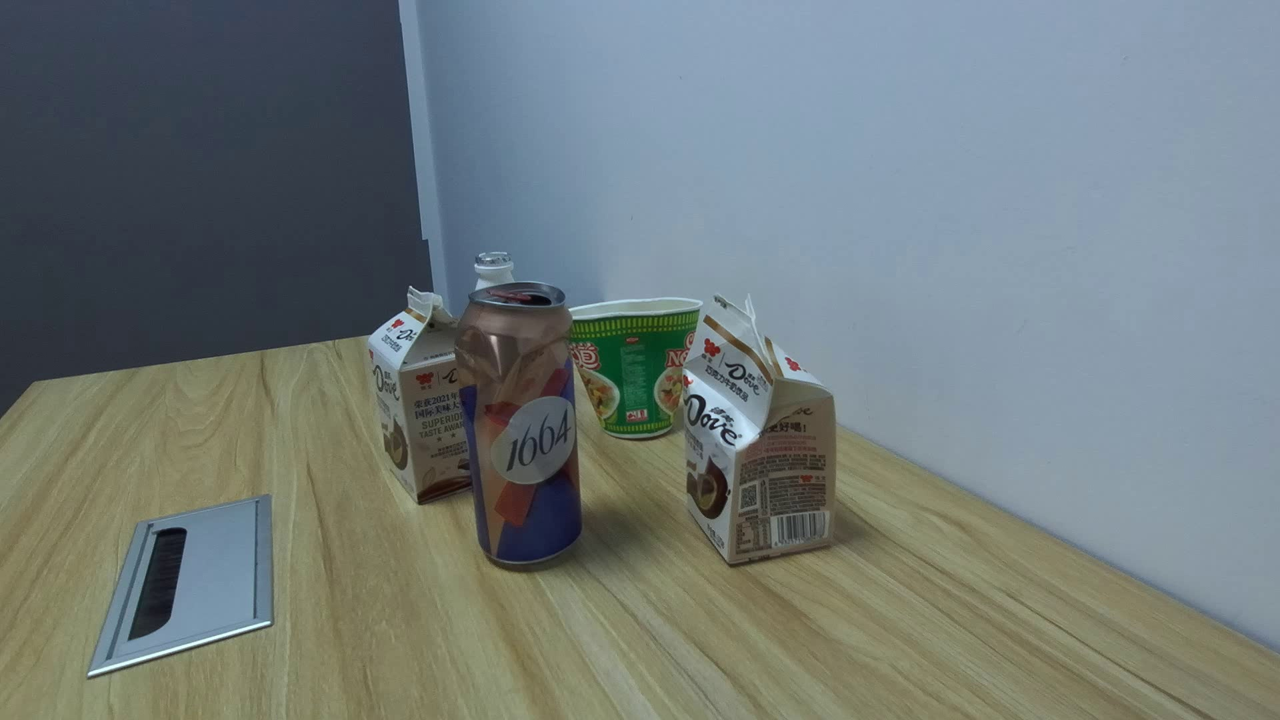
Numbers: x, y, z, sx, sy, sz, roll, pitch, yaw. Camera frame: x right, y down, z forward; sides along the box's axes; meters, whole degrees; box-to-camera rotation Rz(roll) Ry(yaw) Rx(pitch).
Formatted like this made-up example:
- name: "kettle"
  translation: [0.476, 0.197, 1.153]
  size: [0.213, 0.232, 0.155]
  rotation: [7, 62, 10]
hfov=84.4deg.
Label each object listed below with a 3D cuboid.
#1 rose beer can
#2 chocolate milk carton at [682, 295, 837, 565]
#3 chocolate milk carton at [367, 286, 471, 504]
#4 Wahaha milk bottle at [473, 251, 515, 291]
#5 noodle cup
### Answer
- name: "rose beer can"
  translation: [-0.069, 0.041, 0.428]
  size: [0.065, 0.167, 0.076]
  rotation: [18, 25, 39]
- name: "chocolate milk carton"
  translation: [0.072, 0.038, 0.436]
  size: [0.074, 0.155, 0.076]
  rotation: [-9, 23, -14]
- name: "chocolate milk carton"
  translation: [-0.148, 0.018, 0.520]
  size: [0.074, 0.148, 0.075]
  rotation: [-16, 25, -31]
- name: "Wahaha milk bottle"
  translation: [-0.133, -0.036, 0.663]
  size: [0.056, 0.148, 0.056]
  rotation: [3, 41, -3]
- name: "noodle cup"
  translation: [-0.004, 0.006, 0.605]
  size: [0.115, 0.111, 0.070]
  rotation: [1, 18, 11]
